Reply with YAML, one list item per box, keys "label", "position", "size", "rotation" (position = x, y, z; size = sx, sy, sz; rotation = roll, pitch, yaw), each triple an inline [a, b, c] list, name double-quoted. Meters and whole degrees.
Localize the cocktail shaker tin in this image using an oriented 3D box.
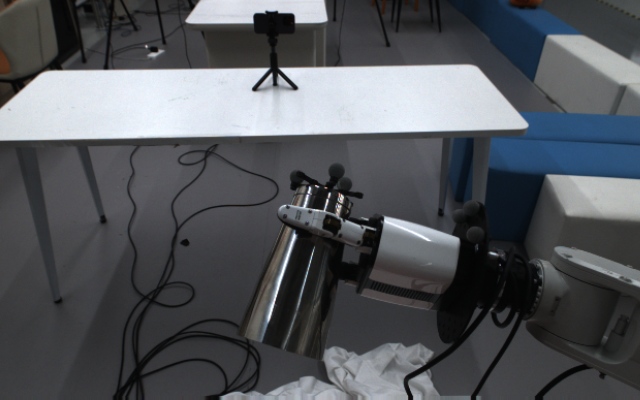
- label: "cocktail shaker tin"
  position: [-0.017, 0.073, 0.523]
  size: [0.093, 0.093, 0.170]
  rotation: [12, 72, 14]
